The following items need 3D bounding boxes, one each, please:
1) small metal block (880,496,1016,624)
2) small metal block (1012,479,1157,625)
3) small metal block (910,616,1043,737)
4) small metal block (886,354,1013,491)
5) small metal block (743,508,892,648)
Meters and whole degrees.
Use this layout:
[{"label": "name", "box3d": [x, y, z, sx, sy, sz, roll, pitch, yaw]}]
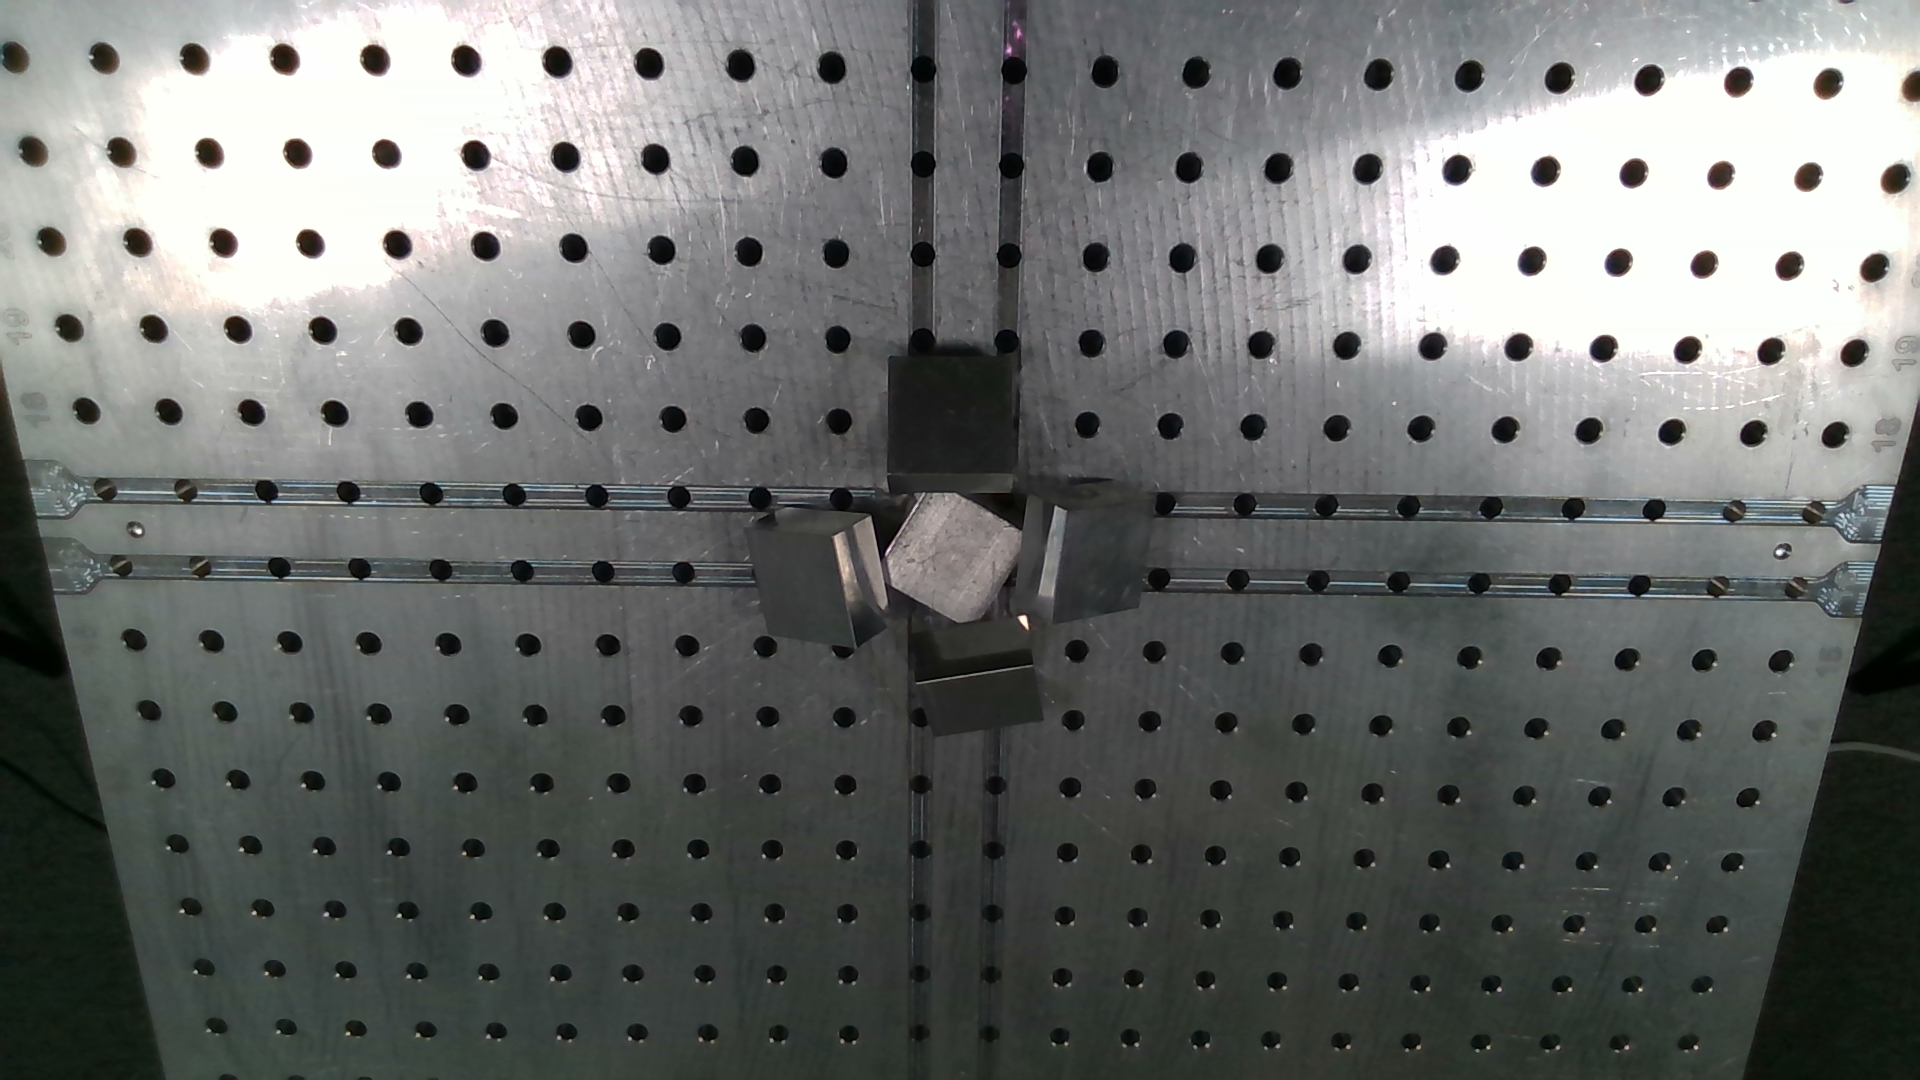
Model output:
[{"label": "small metal block", "box3d": [-0.003, 0.002, 0.588, 0.050, 0.025, 0.050, 30, 108, -10]}, {"label": "small metal block", "box3d": [0.052, 0.004, 0.575, 0.050, 0.025, 0.050, -8, 115, -36]}, {"label": "small metal block", "box3d": [0.008, 0.059, 0.596, 0.050, 0.025, 0.050, -9, 145, 3]}, {"label": "small metal block", "box3d": [-0.004, -0.047, 0.557, 0.050, 0.025, 0.050, 0, 76, 0]}, {"label": "small metal block", "box3d": [-0.060, 0.015, 0.579, 0.050, 0.025, 0.050, 6, 115, 36]}]
